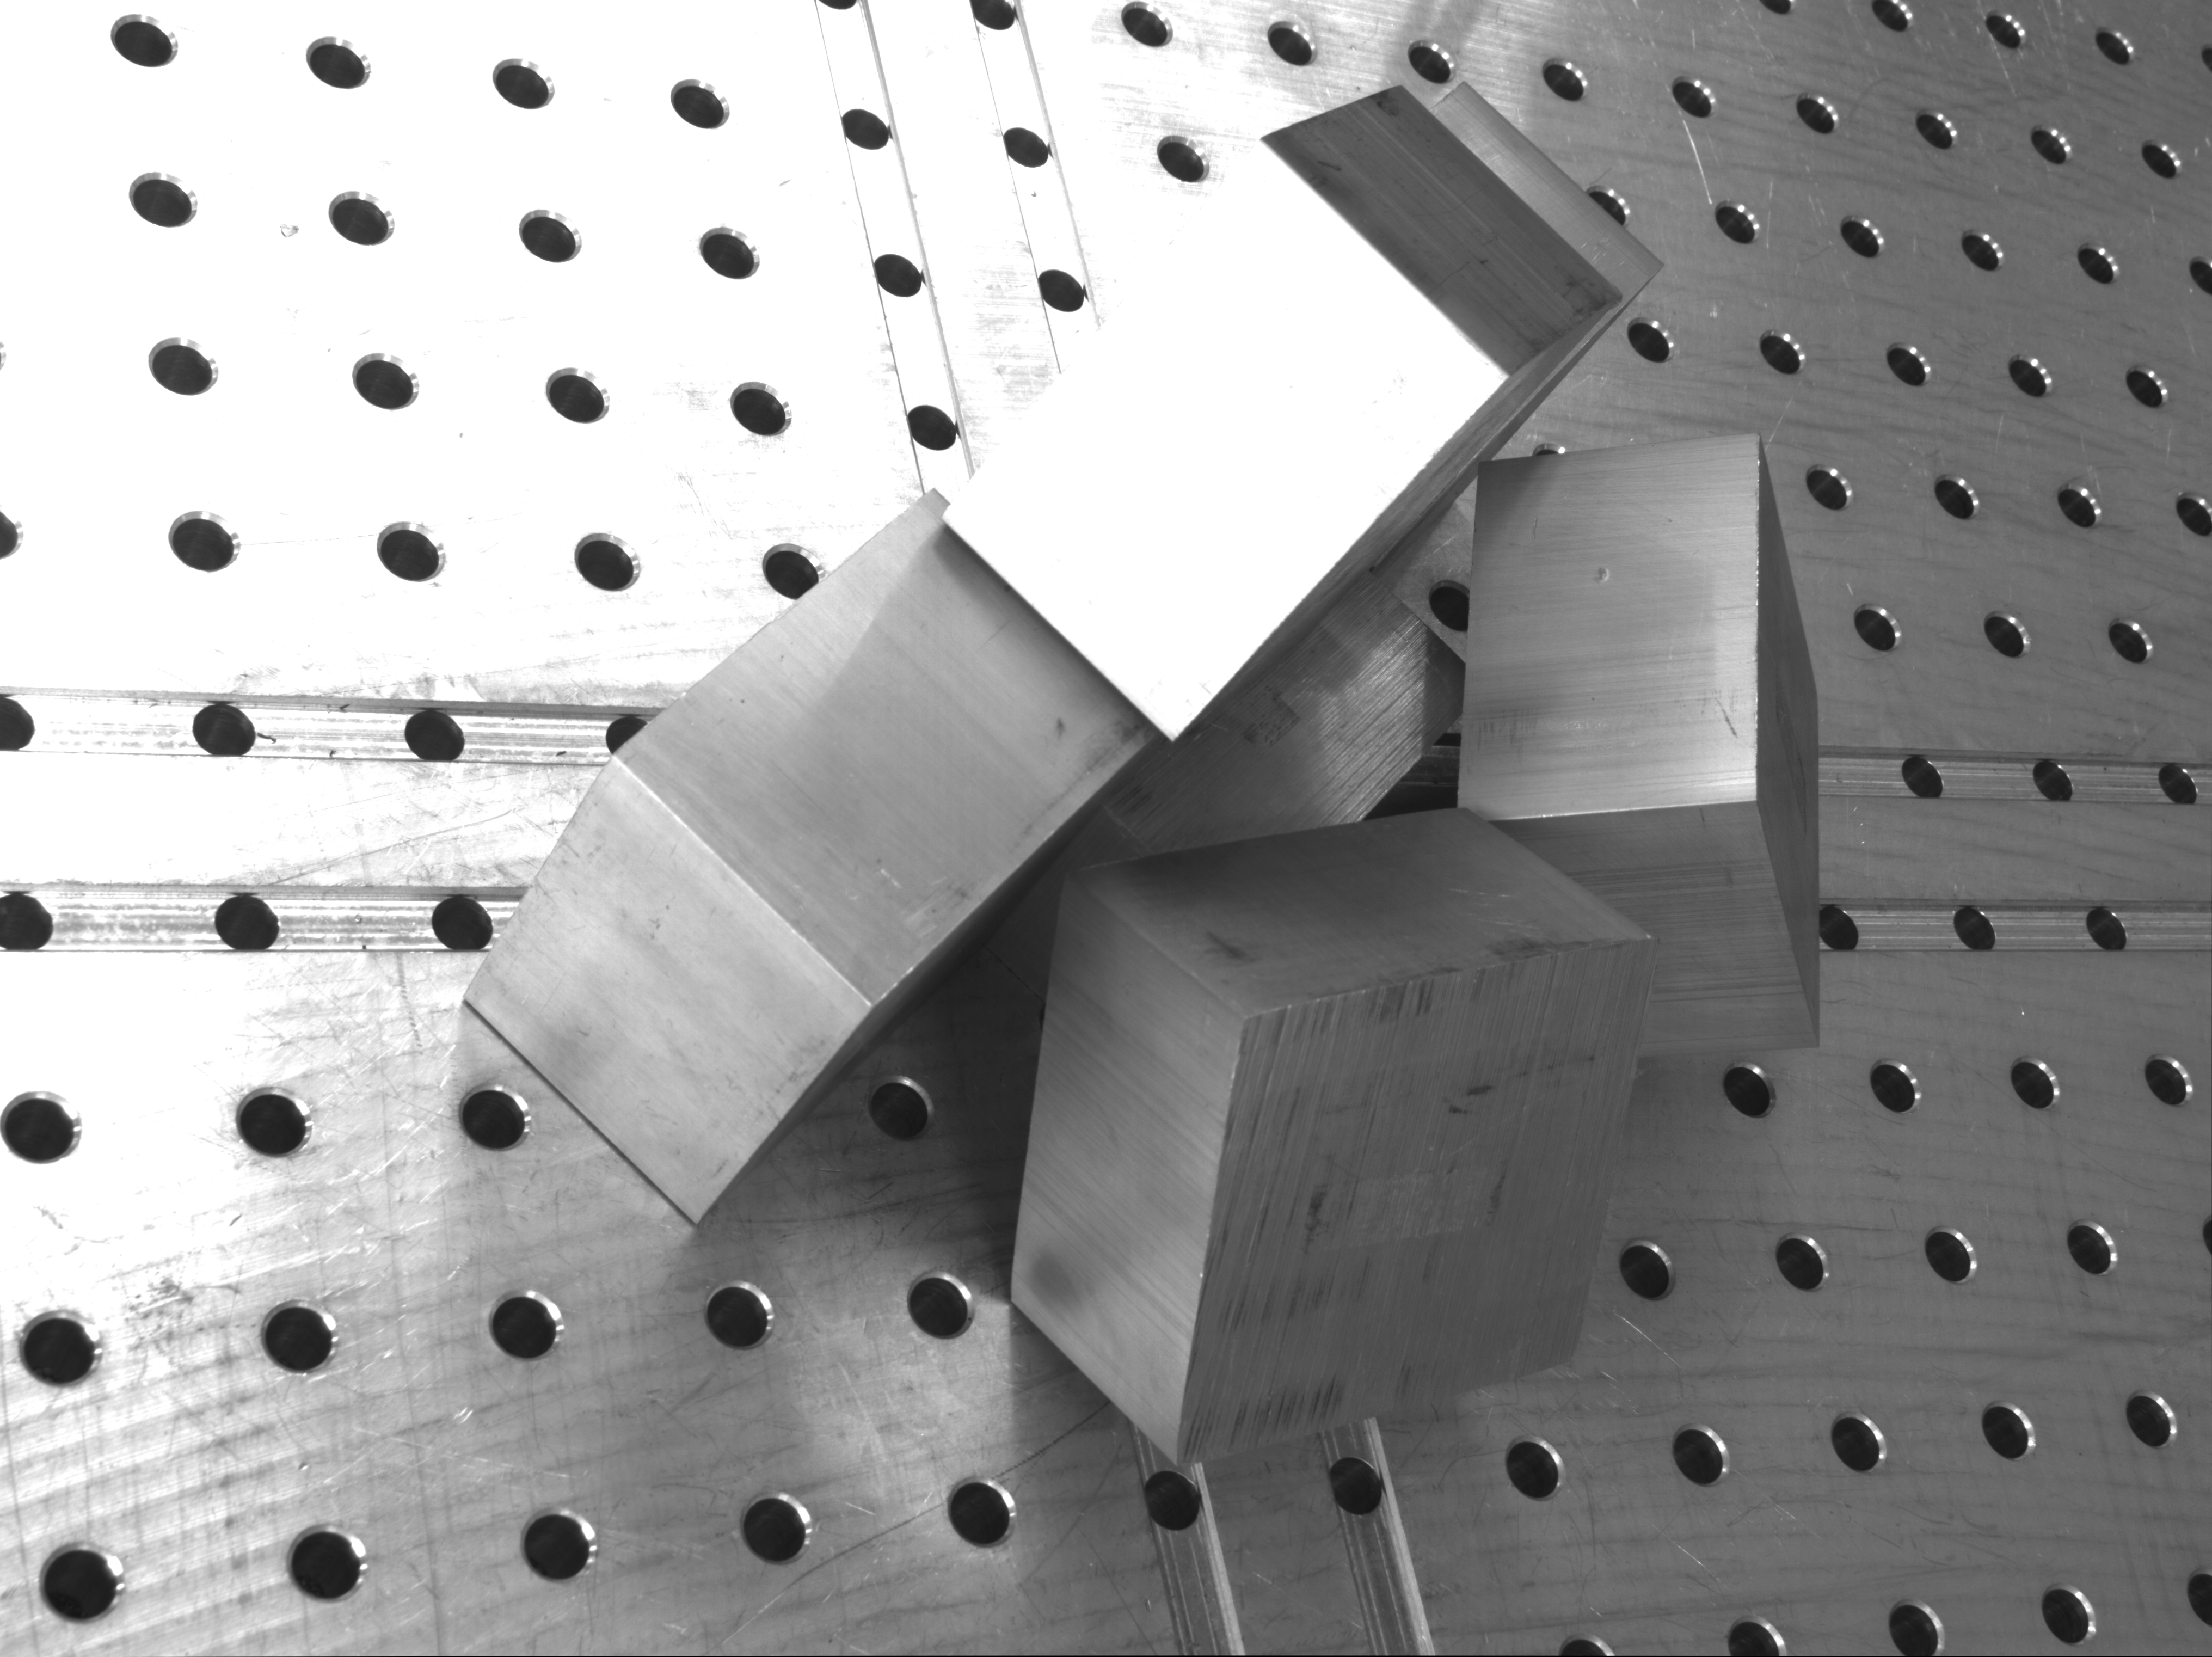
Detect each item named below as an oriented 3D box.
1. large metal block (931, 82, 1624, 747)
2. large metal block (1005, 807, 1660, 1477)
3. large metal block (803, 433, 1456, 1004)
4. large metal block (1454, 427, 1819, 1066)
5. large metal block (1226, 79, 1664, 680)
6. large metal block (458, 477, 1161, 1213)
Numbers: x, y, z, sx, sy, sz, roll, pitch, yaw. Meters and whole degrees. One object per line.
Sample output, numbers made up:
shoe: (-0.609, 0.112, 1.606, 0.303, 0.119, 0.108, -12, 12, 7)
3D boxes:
large metal block: (0.029, -0.068, 0.583, 0.050, 0.080, 0.080, 44, 26, 3)
large metal block: (0.035, 0.048, 0.587, 0.080, 0.080, 0.050, -9, 30, -32)
large metal block: (0.005, -0.018, 0.642, 0.080, 0.050, 0.080, 43, 51, 2)
large metal block: (0.097, -0.013, 0.657, 0.050, 0.080, 0.080, -5, 55, 17)
large metal block: (0.046, -0.080, 0.680, 0.050, 0.080, 0.080, 43, 51, 1)
large metal block: (-0.047, 0.003, 0.579, 0.050, 0.080, 0.080, 44, 51, 2)
